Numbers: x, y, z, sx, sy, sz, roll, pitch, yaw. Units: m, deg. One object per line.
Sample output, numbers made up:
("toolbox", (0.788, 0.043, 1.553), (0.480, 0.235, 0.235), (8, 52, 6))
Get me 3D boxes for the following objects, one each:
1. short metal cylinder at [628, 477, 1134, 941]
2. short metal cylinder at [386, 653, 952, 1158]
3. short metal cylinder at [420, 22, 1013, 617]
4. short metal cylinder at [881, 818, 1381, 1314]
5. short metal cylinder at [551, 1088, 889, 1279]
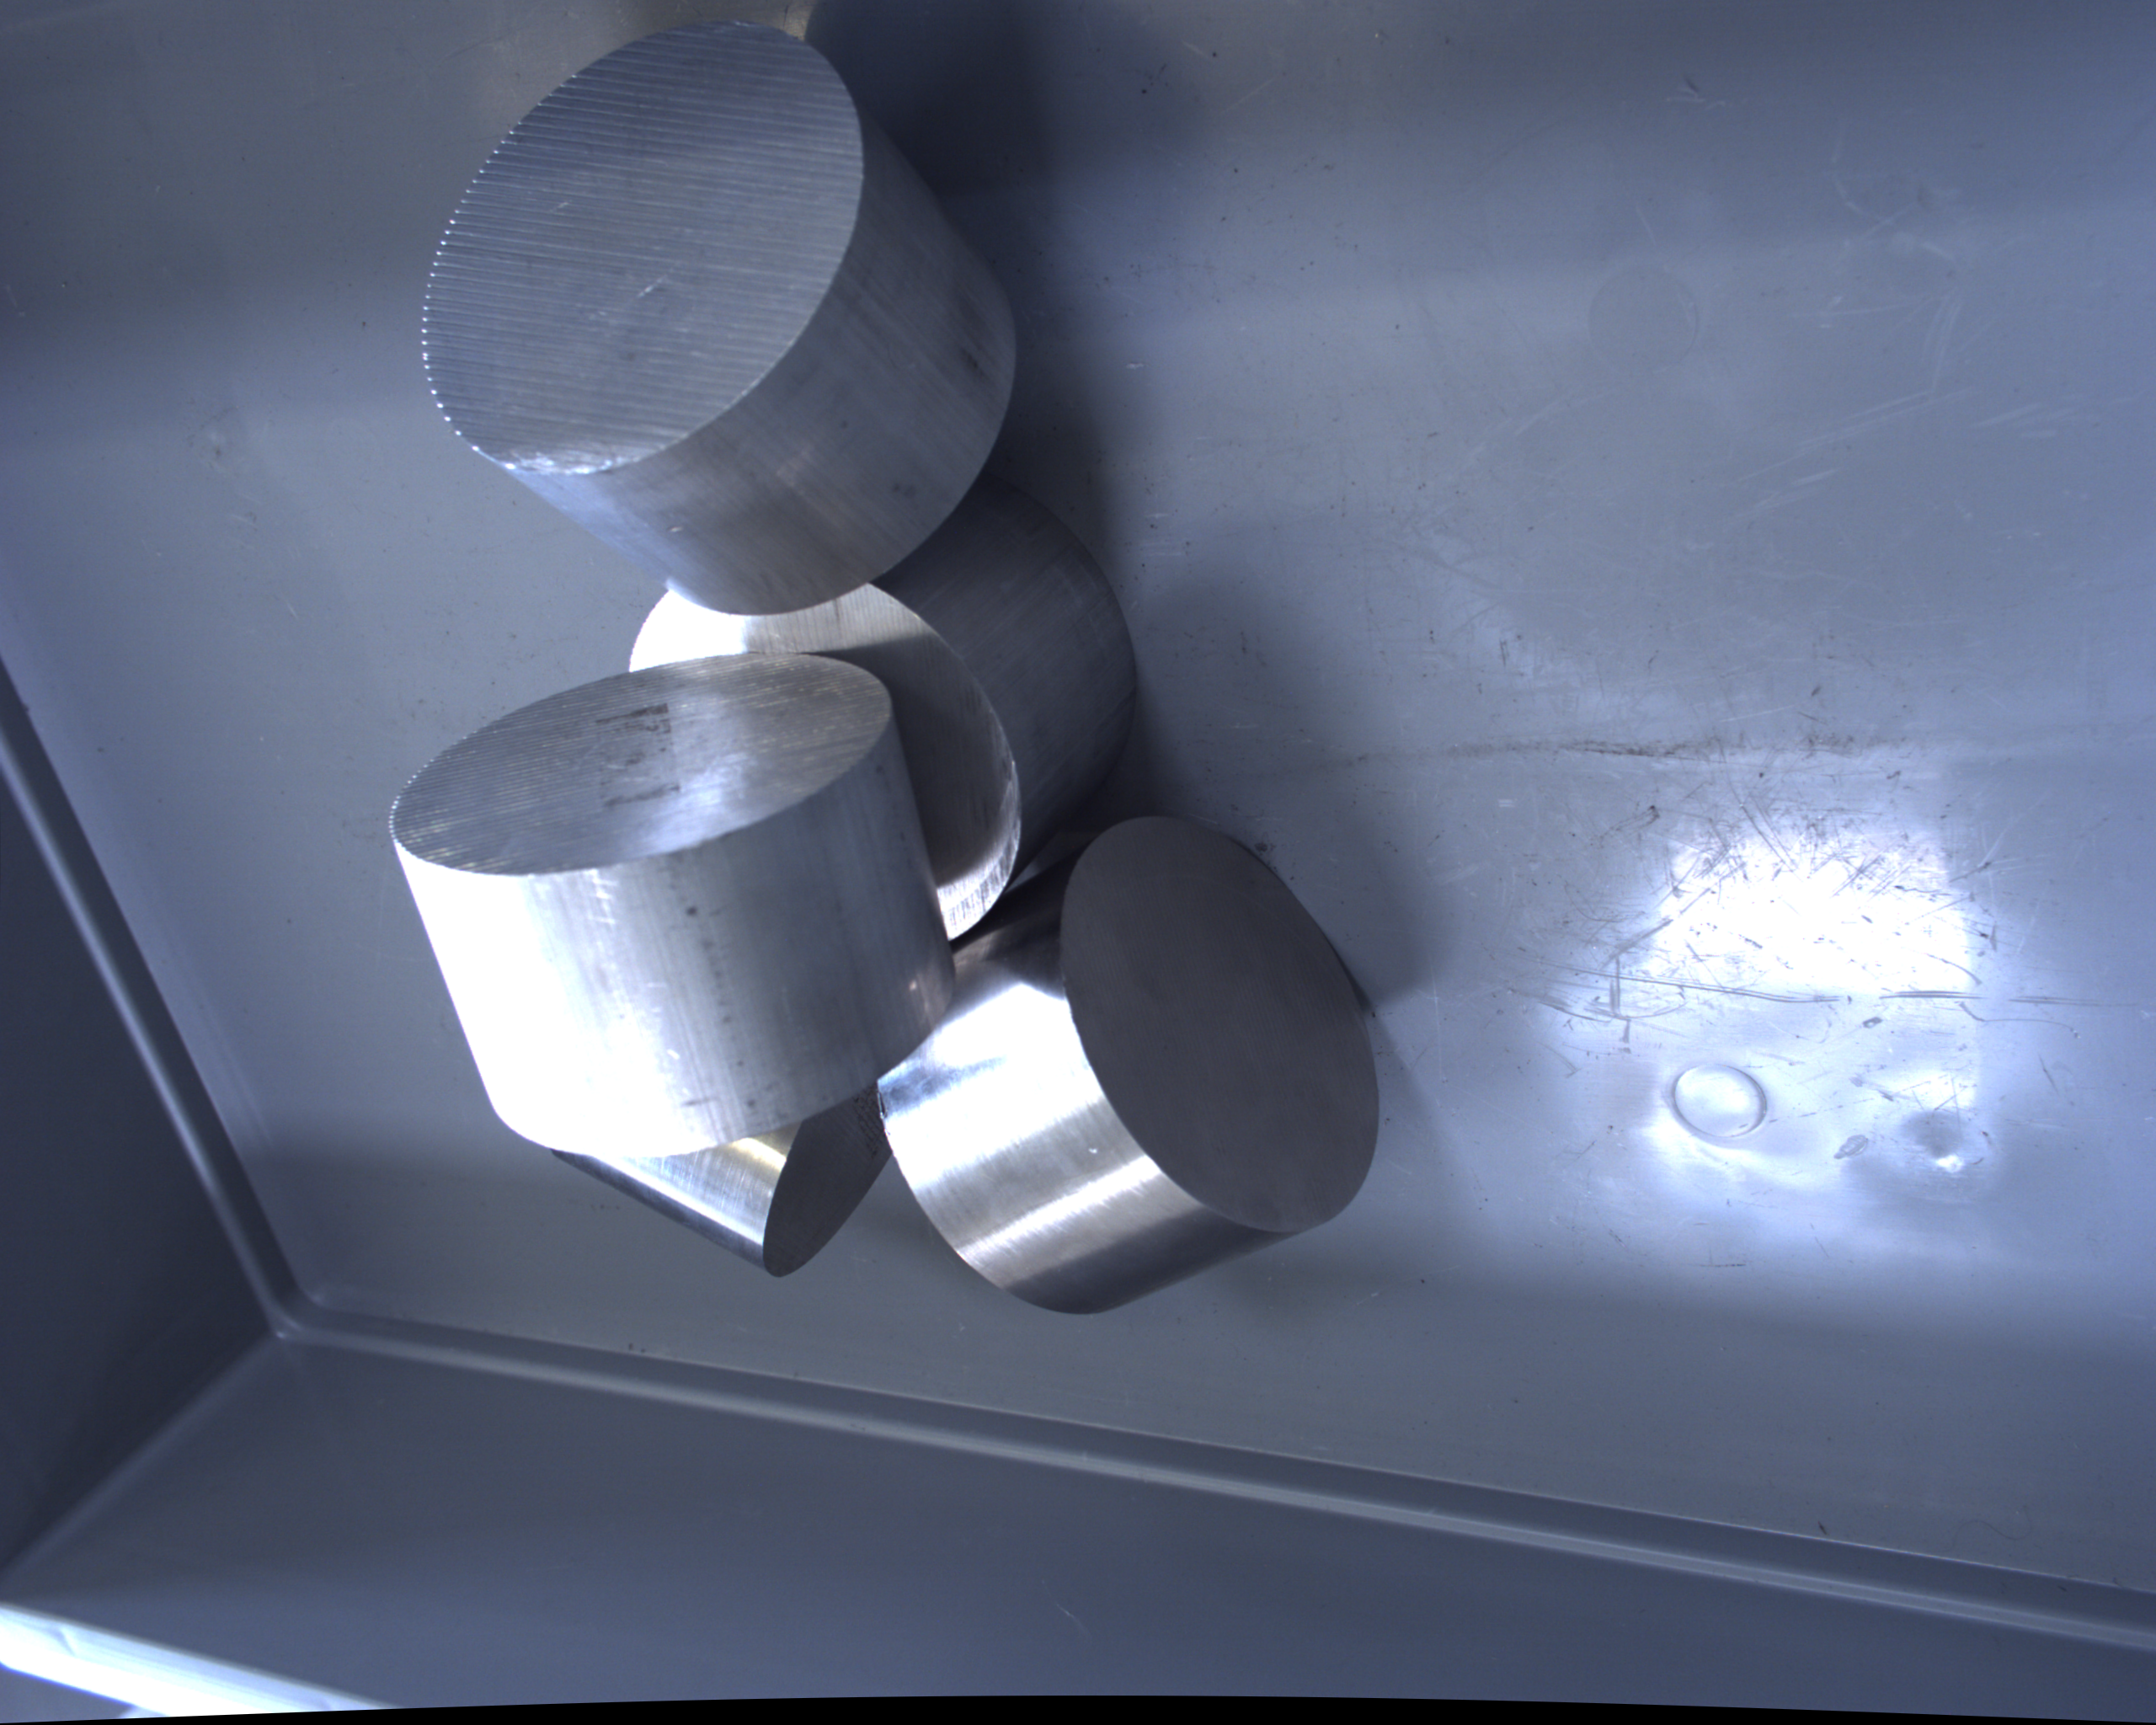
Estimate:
("short metal cylinder", (-0.036, -0.029, 0.391), (0.080, 0.050, 0.079), (13, 124, 21))
("short metal cylinder", (-0.065, 0.004, 0.343), (0.080, 0.080, 0.050), (3, 120, 26))
("short metal cylinder", (-0.058, -0.087, 0.340), (0.080, 0.080, 0.050), (4, 163, 26))
("short metal cylinder", (0.011, 0.038, 0.389), (0.050, 0.080, 0.080), (-32, 101, 39))
("short metal cylinder", (-0.064, 0.038, 0.428), (0.050, 0.080, 0.079), (26, 128, 12))
